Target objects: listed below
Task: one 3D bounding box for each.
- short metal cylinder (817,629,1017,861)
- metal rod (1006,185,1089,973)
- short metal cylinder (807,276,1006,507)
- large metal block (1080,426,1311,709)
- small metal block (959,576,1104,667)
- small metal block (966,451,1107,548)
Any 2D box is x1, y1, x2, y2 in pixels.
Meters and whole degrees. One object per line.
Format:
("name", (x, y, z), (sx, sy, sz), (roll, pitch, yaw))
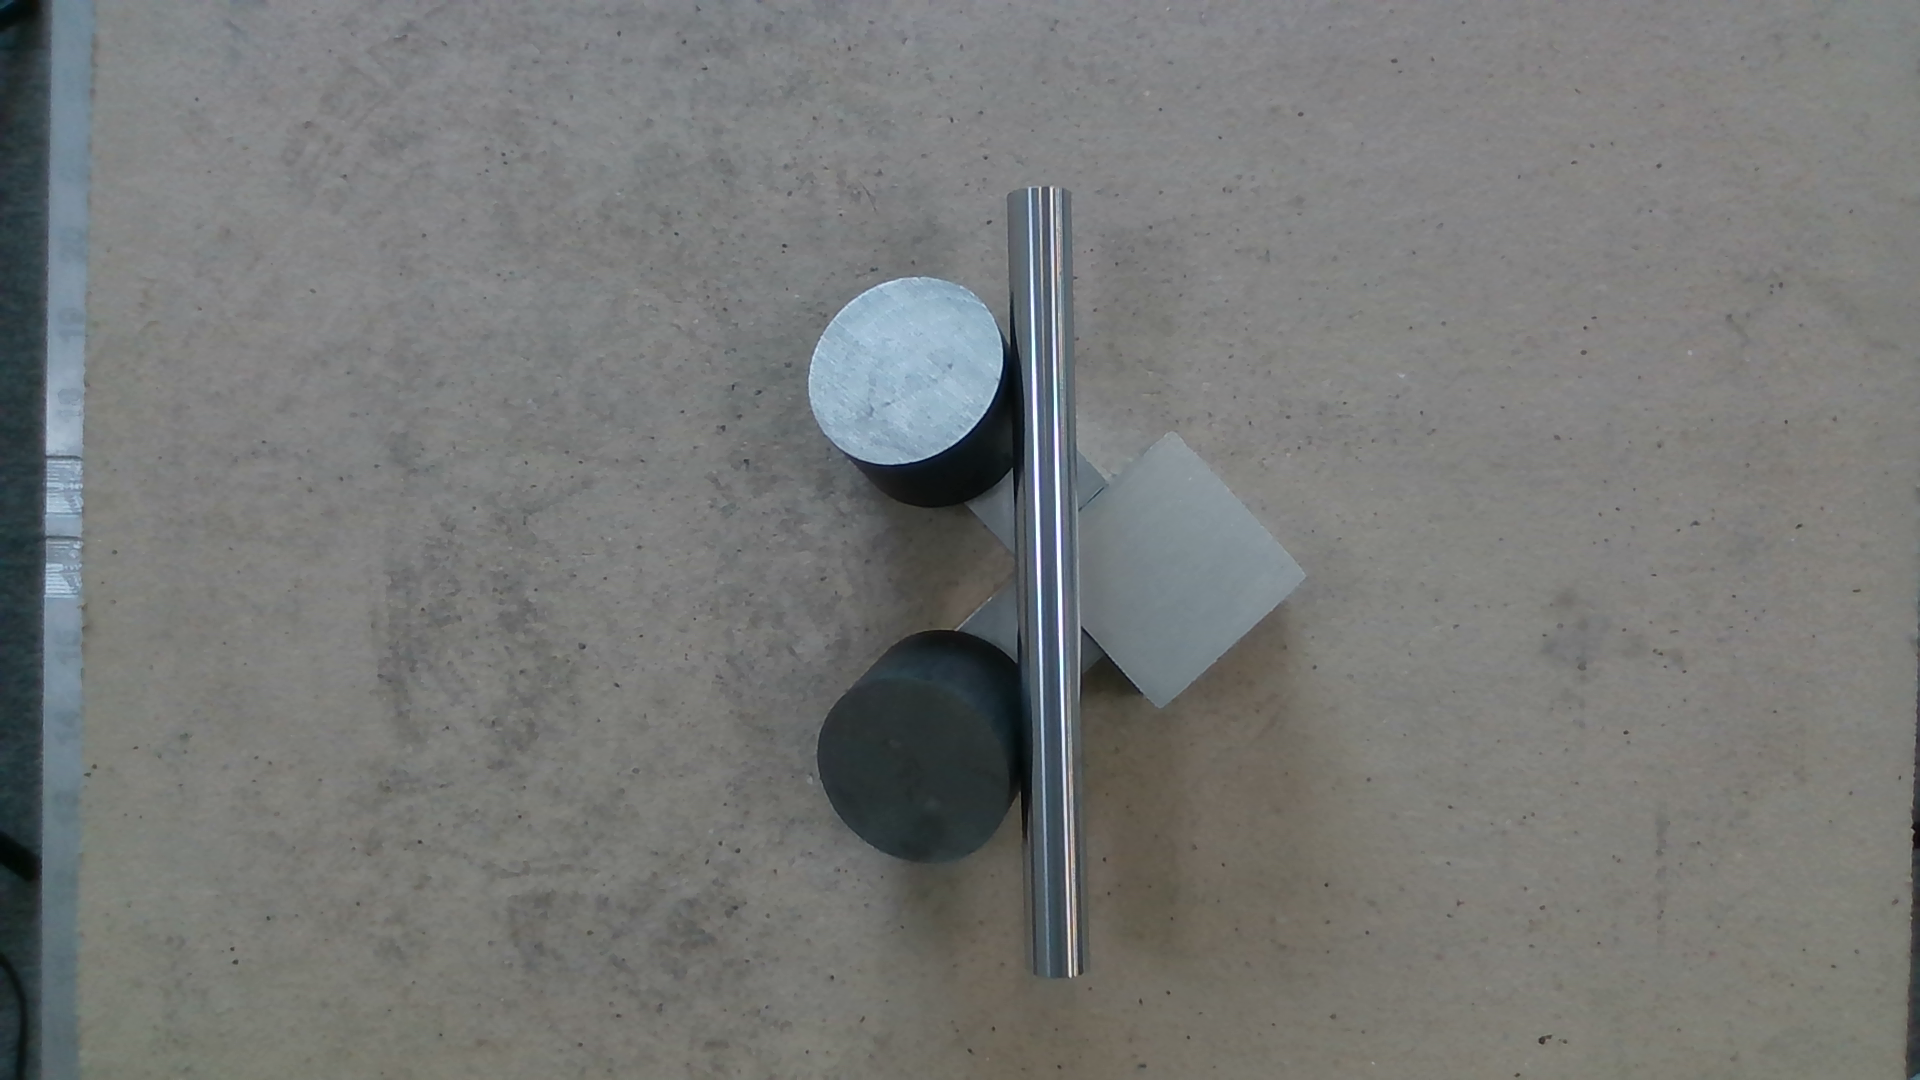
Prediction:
("short metal cylinder", (-0.011, 0.083, 0.562), (0.080, 0.050, 0.080), (6, 110, 17))
("metal rod", (0.034, 0.015, 0.536), (0.025, 0.025, 0.300), (-1, 91, 0))
("short metal cylinder", (-0.015, -0.060, 0.560), (0.080, 0.050, 0.080), (-5, 71, 16))
("large metal block", (0.083, 0.011, 0.573), (0.080, 0.050, 0.080), (-42, 90, 0))
("small metal block", (0.025, 0.046, 0.588), (0.050, 0.025, 0.050), (-43, 90, 0))
("small metal block", (0.027, -0.026, 0.588), (0.050, 0.025, 0.050), (-43, 91, 0))
